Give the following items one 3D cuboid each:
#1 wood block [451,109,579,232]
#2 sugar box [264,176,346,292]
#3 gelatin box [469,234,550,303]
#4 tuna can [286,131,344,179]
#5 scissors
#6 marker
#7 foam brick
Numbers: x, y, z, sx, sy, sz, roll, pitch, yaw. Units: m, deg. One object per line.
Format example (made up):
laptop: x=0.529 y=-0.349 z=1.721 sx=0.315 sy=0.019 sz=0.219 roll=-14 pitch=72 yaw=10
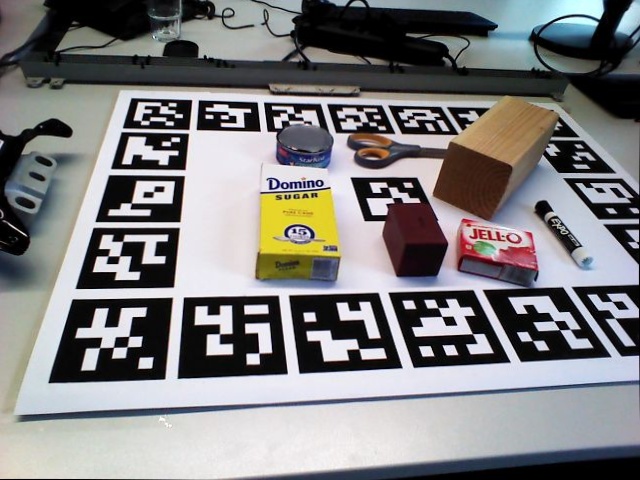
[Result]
wood block: x=0.287 y=-0.104 z=0.752 sx=0.090 sy=0.091 sz=0.205 roll=30 pitch=46 yaw=25
sugar box: x=-0.019 y=-0.013 z=0.644 sx=0.093 sy=0.045 sz=0.175 roll=4 pitch=42 yaw=-4
gelatin box: x=0.230 y=0.033 z=0.634 sx=0.089 sy=0.030 sz=0.073 roll=12 pitch=43 yaw=7
tuna can: x=-0.009 y=-0.125 z=0.772 sx=0.086 sy=0.034 sz=0.085 roll=3 pitch=43 yaw=-3
scissors: x=0.161 y=-0.122 z=0.807 sx=0.203 sy=0.016 sz=0.087 roll=4 pitch=42 yaw=0
marker: x=0.334 y=0.009 z=0.679 sx=0.019 sy=0.020 sz=0.120 roll=1 pitch=44 yaw=-6
foam brick: x=0.127 y=0.016 z=0.618 sx=0.053 sy=0.051 sz=0.077 roll=1 pitch=43 yaw=-6
